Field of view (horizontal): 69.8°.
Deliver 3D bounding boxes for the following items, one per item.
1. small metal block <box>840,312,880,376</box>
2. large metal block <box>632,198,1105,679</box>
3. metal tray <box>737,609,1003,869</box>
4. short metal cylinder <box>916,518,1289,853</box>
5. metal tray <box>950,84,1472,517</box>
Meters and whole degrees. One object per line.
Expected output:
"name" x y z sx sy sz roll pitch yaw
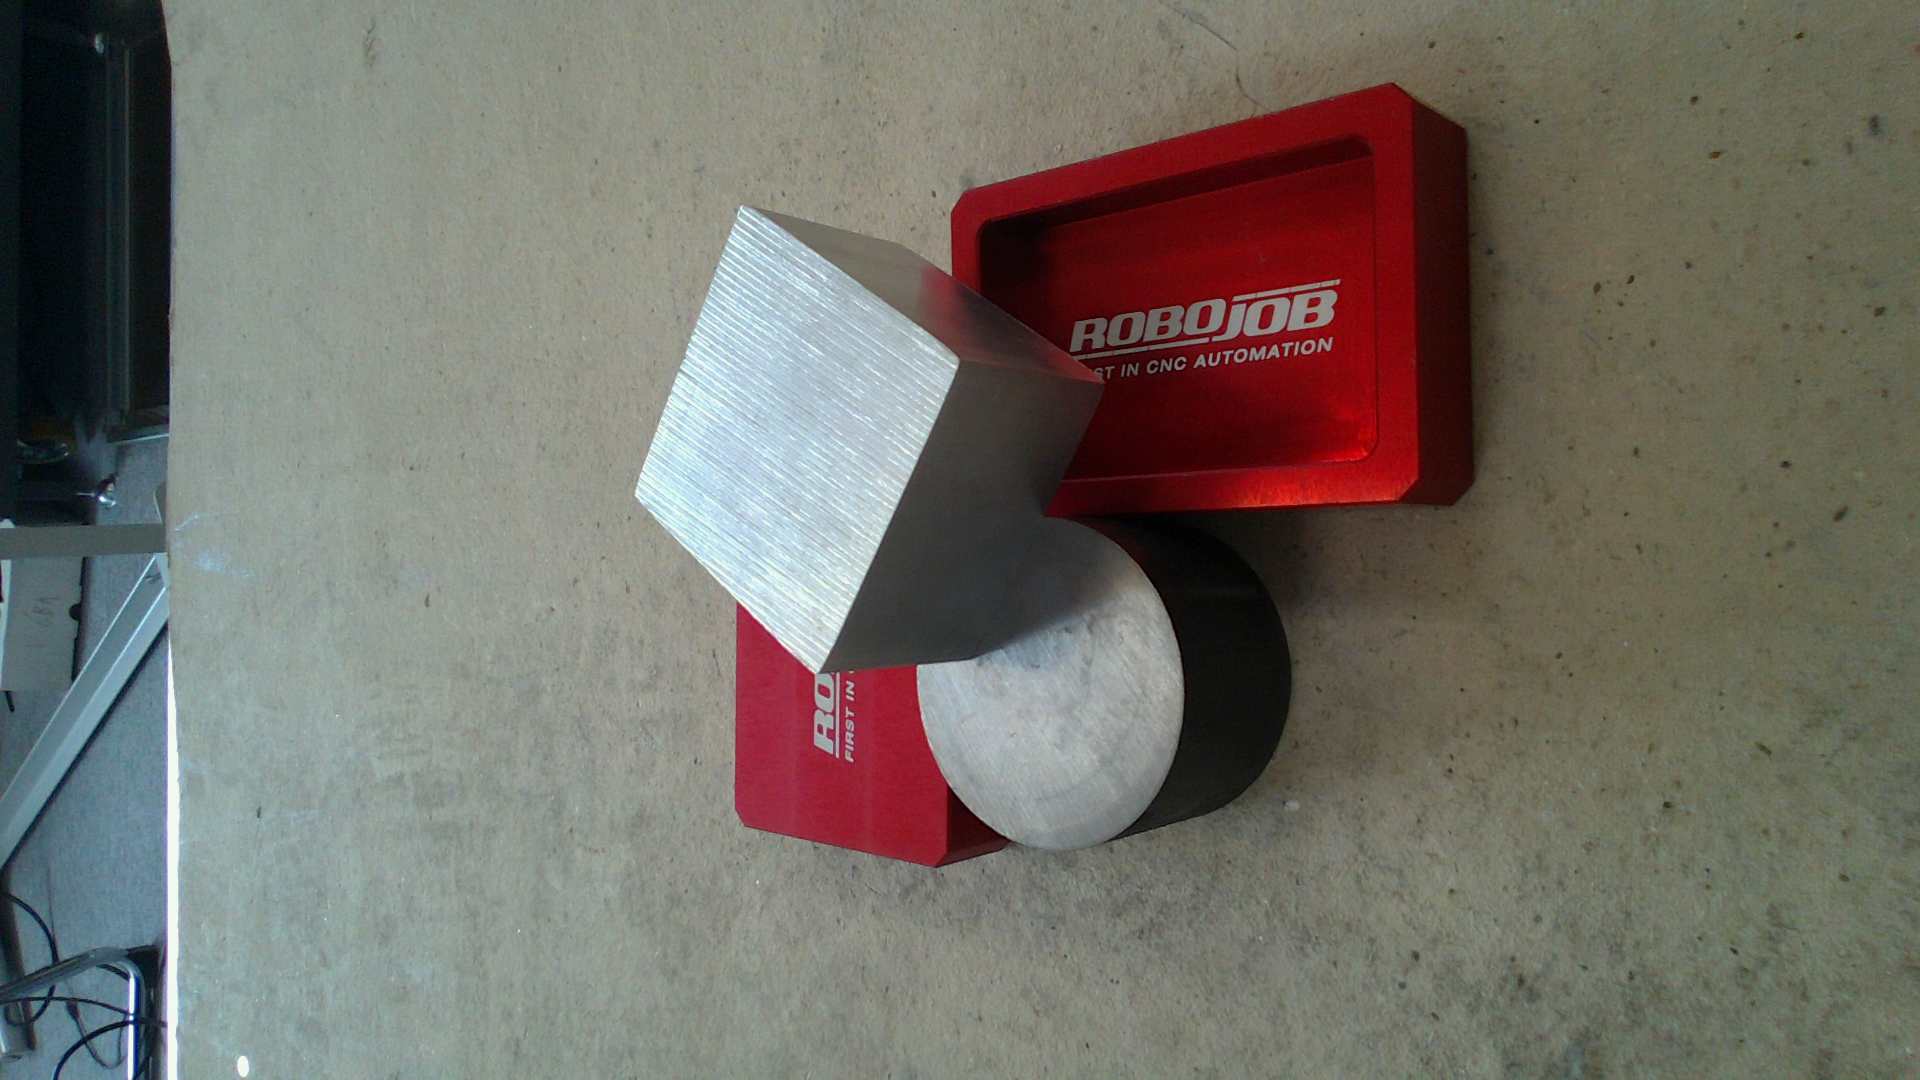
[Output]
"small metal block" -0.020 -0.053 0.395 0.050 0.050 0.025 1 91 40
"large metal block" -0.025 -0.025 0.332 0.080 0.050 0.080 40 115 33
"metal tray" -0.027 0.025 0.416 0.090 0.030 0.130 1 91 40
"short metal cylinder" 0.035 0.035 0.349 0.080 0.050 0.080 0 90 41
"metal tray" 0.057 -0.051 0.344 0.129 0.030 0.090 -2 89 40
